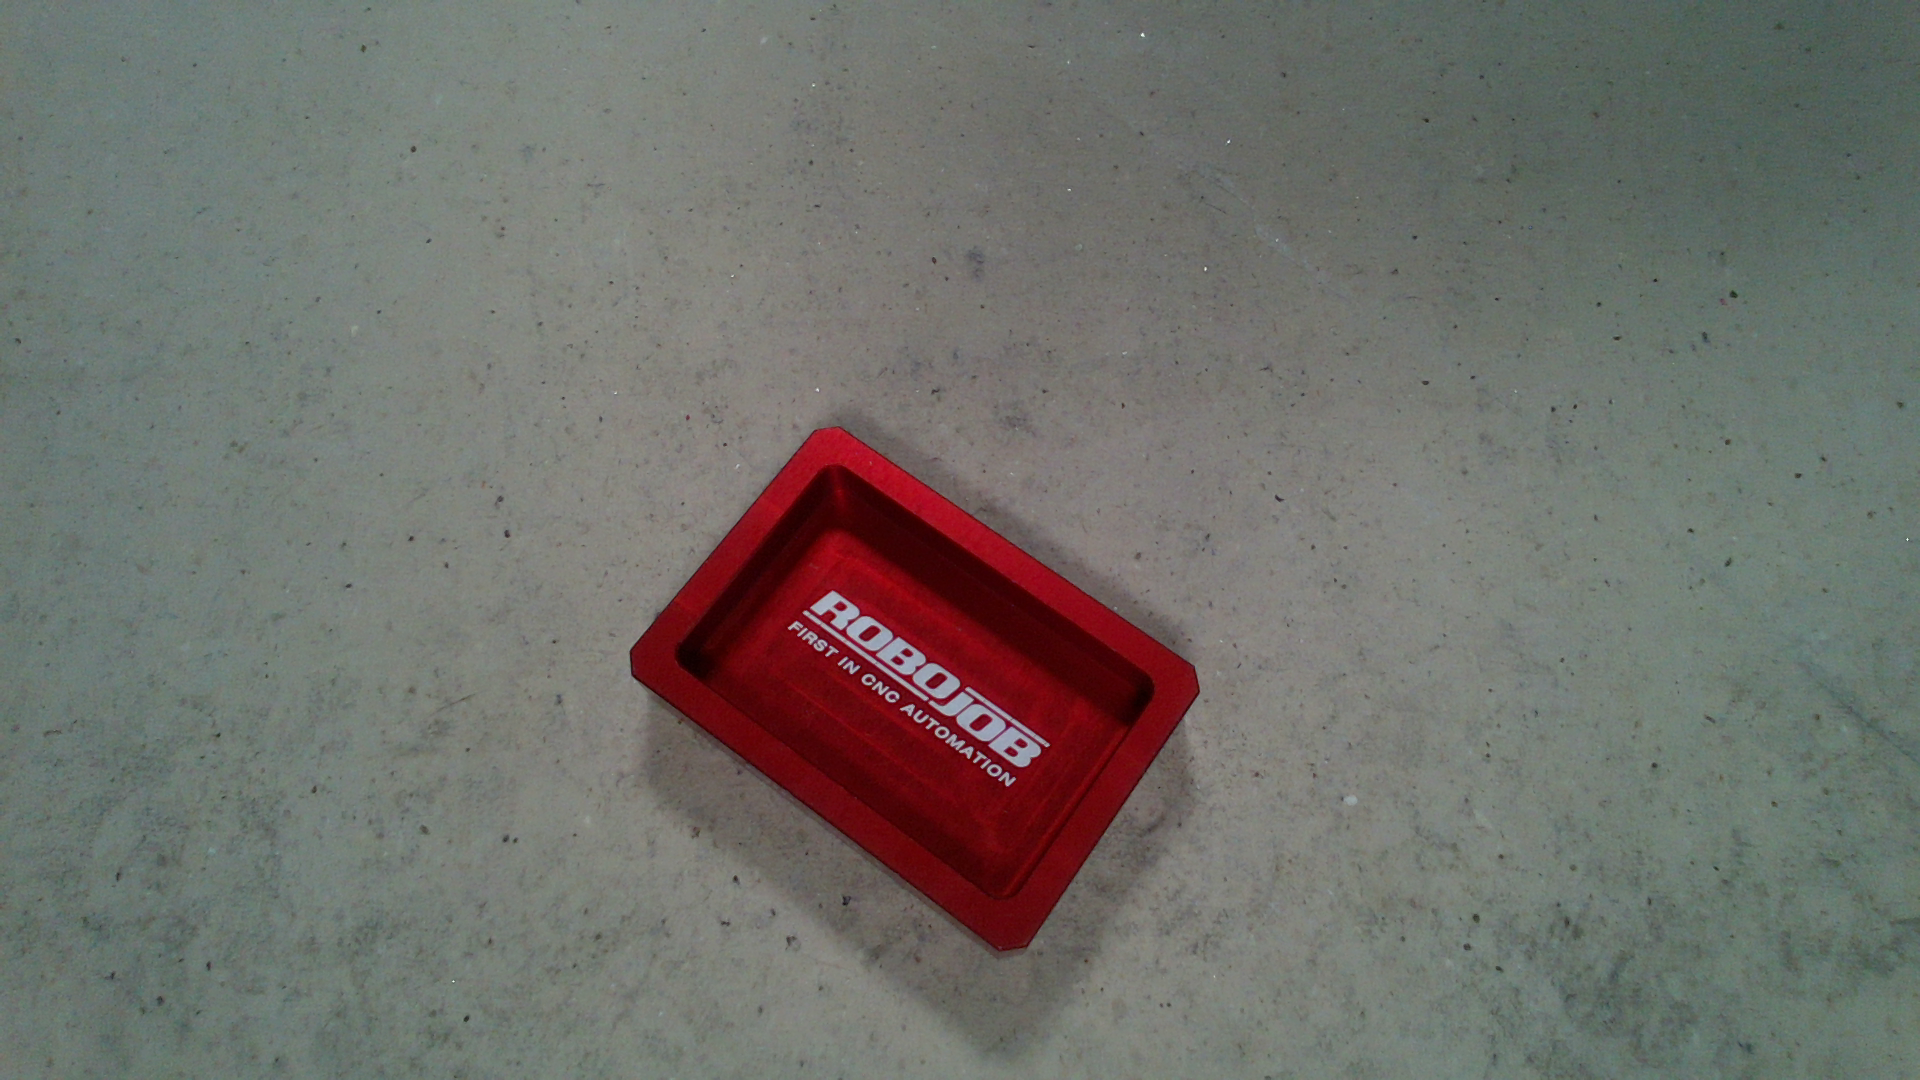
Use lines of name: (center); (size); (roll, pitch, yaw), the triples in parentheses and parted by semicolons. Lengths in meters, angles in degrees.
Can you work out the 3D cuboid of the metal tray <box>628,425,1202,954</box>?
metal tray: (-0.012, 0.040, 0.378); (0.130, 0.030, 0.090); (34, 73, 12)
